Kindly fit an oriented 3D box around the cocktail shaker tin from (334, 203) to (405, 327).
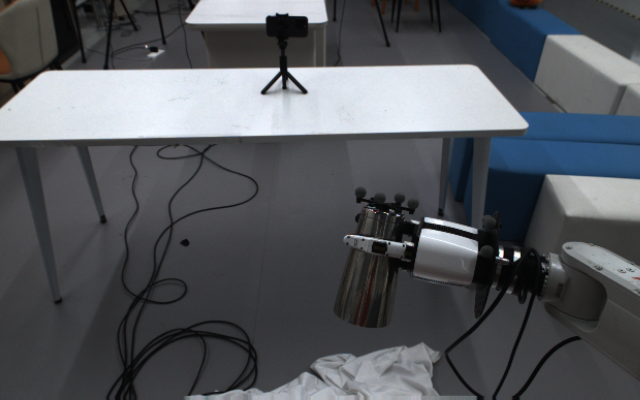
[{"bbox_3d":[0.085,0.094,0.745,0.093,0.170,0.093,10,9,-2],"label":"cocktail shaker tin"}]
